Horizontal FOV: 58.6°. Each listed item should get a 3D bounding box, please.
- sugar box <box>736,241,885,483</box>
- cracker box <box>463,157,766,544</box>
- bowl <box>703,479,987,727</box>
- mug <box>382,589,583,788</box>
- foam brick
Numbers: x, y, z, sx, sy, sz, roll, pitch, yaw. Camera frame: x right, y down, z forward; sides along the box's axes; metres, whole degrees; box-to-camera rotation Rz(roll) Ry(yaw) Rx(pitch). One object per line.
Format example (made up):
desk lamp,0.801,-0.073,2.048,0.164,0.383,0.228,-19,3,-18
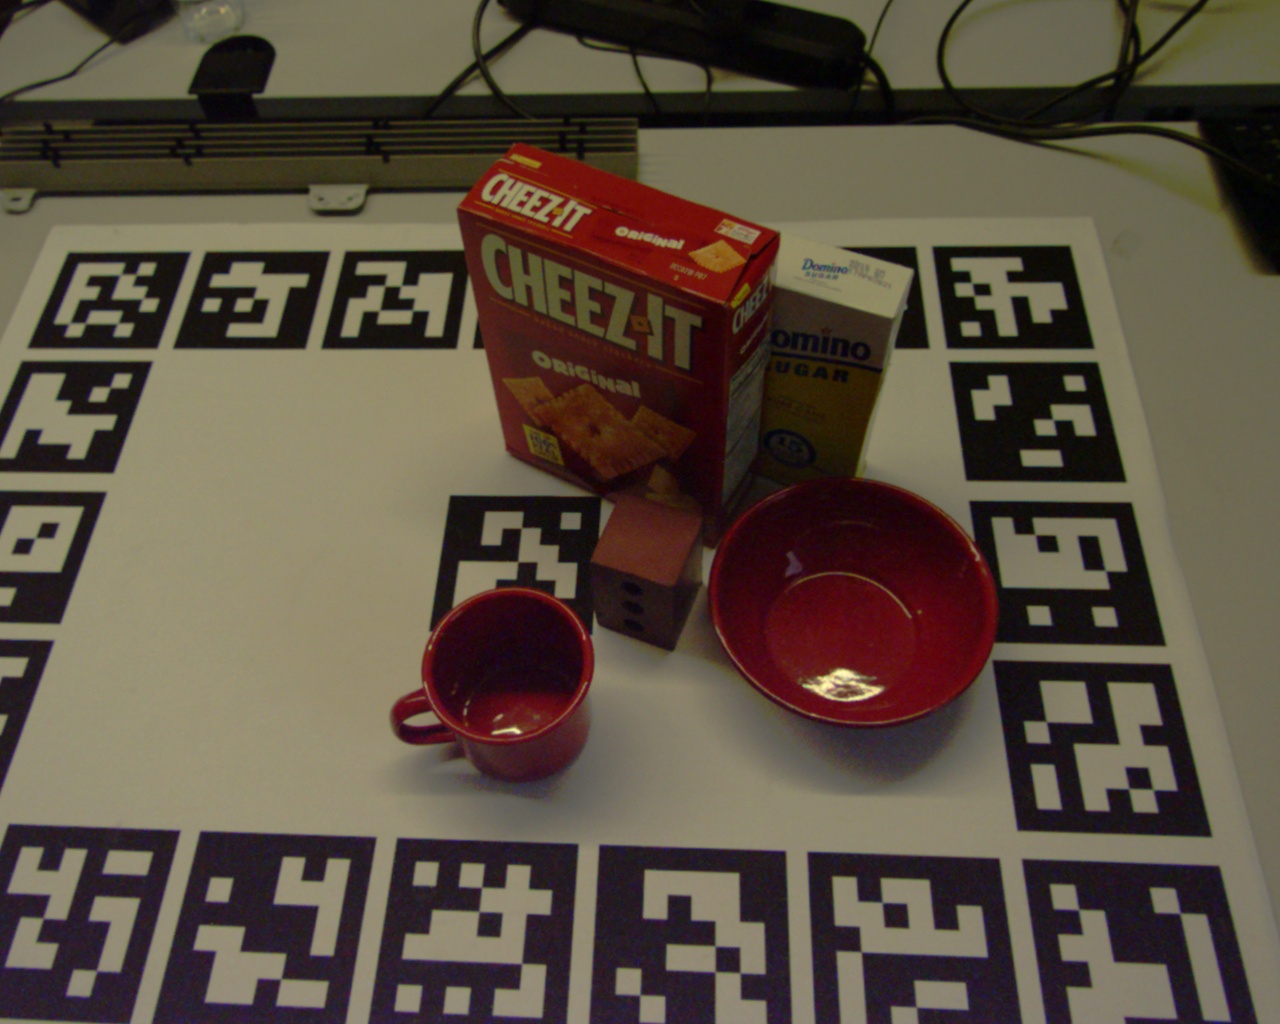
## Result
sugar box,0.095,-0.089,0.719,0.093,0.175,0.045,19,60,15
cracker box,-0.017,-0.089,0.706,0.166,0.213,0.071,27,60,18
bowl,0.118,0.061,0.679,0.162,0.055,0.162,-2,58,2
mug,-0.089,0.106,0.656,0.117,0.081,0.094,-8,49,1
foam brick,-0.003,0.035,0.709,0.053,0.078,0.051,14,58,12
